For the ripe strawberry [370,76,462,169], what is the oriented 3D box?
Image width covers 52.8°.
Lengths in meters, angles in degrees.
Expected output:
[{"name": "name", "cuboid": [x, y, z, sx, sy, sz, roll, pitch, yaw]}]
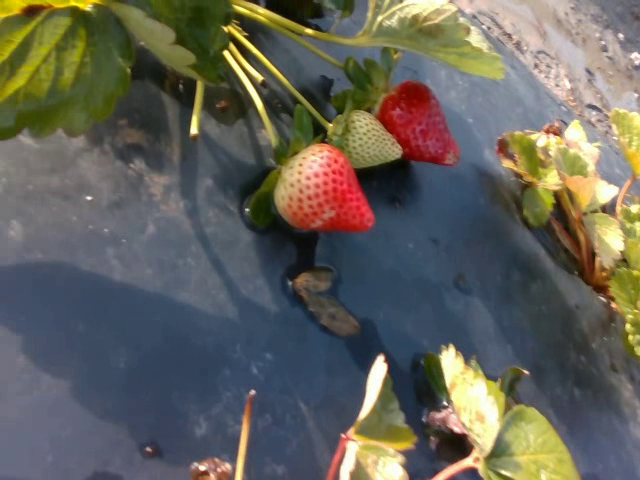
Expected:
[{"name": "ripe strawberry", "cuboid": [0.058, -0.061, 0.354, 0.048, 0.065, 0.050, -44, 12, -3]}]
